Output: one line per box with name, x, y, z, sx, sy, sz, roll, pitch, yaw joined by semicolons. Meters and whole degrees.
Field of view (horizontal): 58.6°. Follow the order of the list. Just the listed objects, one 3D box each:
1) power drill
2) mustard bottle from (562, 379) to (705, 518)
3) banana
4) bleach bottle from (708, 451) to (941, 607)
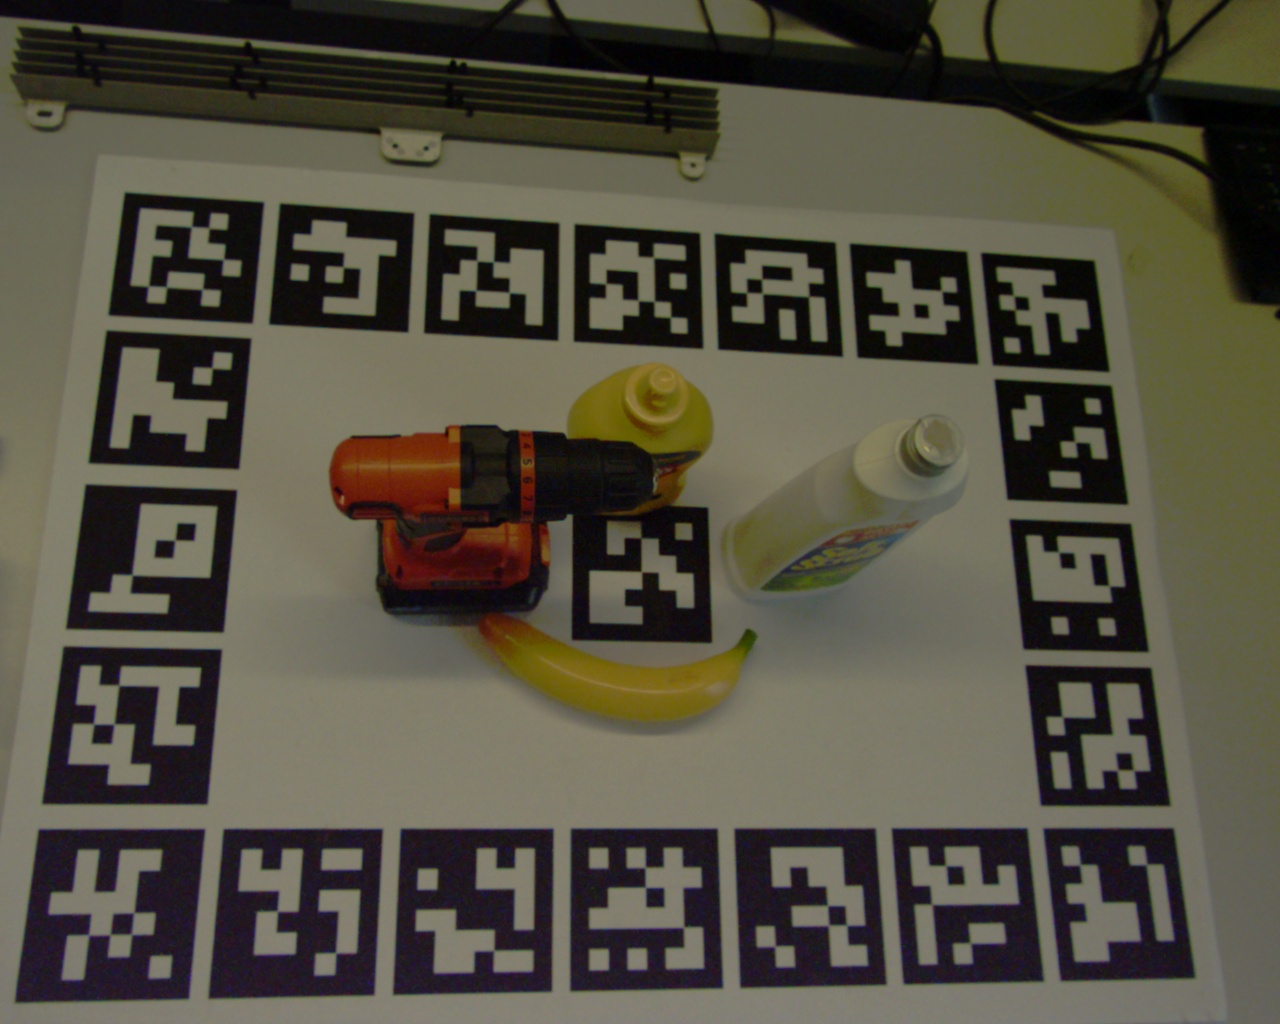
power drill;-0.104;0.004;0.736;0.183;0.187;0.057;0;68;-12
mustard bottle;-0.007;-0.046;0.785;0.096;0.192;0.058;3;74;-10
banana;-0.015;0.111;0.818;0.197;0.039;0.074;5;78;-6
bleach bottle;0.124;0.010;0.768;0.102;0.251;0.068;-6;77;-12
